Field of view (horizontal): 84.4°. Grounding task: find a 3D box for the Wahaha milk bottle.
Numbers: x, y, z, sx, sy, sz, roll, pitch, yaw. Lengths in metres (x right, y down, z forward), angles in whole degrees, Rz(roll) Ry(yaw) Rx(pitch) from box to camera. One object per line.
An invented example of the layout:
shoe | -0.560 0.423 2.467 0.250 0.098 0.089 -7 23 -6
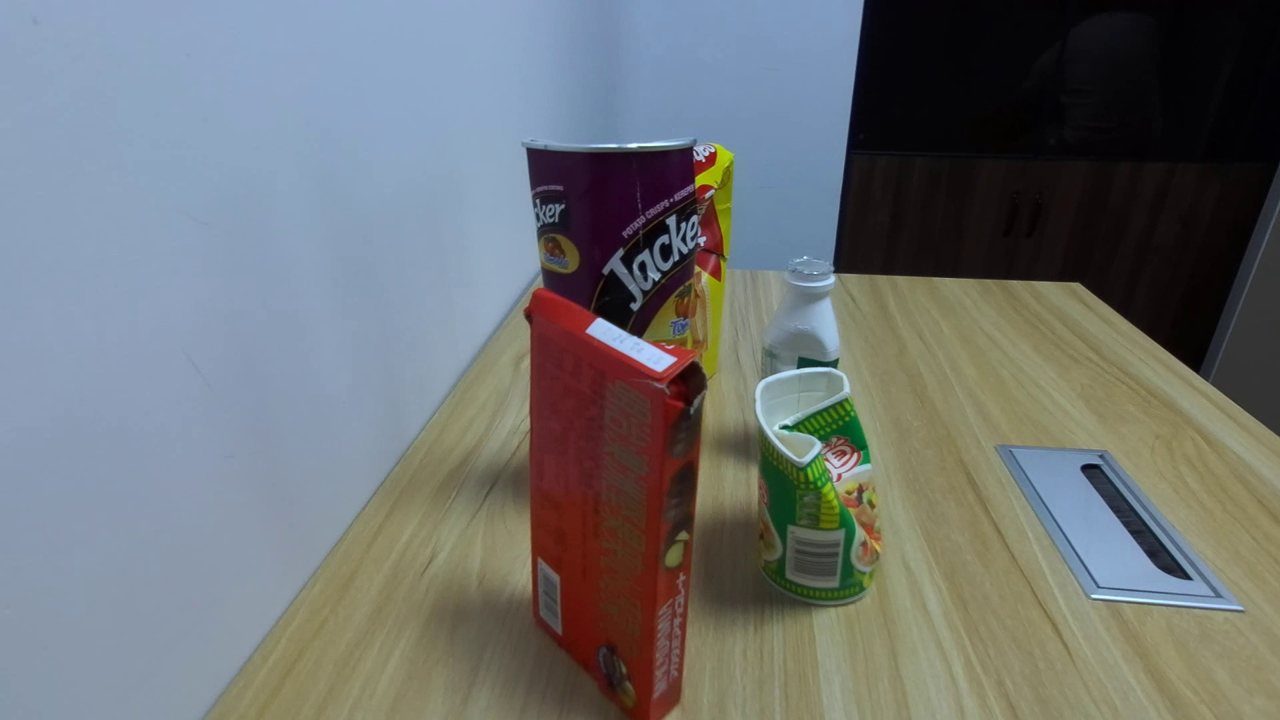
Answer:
Wahaha milk bottle | 0.111 0.006 0.491 0.055 0.149 0.055 2 23 -1

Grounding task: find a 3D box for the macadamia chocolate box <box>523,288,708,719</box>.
macadamia chocolate box | -0.019 0.070 0.329 0.027 0.187 0.102 -13 25 -43

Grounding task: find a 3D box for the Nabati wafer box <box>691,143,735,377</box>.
Nabati wafer box | 0.033 -0.065 0.571 0.042 0.204 0.107 14 28 26

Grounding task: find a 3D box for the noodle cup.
noodle cup | 0.102 0.071 0.396 0.083 0.122 0.075 -24 27 -23

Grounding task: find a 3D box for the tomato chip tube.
tomato chip tube | -0.012 -0.012 0.437 0.077 0.235 0.076 13 24 38
